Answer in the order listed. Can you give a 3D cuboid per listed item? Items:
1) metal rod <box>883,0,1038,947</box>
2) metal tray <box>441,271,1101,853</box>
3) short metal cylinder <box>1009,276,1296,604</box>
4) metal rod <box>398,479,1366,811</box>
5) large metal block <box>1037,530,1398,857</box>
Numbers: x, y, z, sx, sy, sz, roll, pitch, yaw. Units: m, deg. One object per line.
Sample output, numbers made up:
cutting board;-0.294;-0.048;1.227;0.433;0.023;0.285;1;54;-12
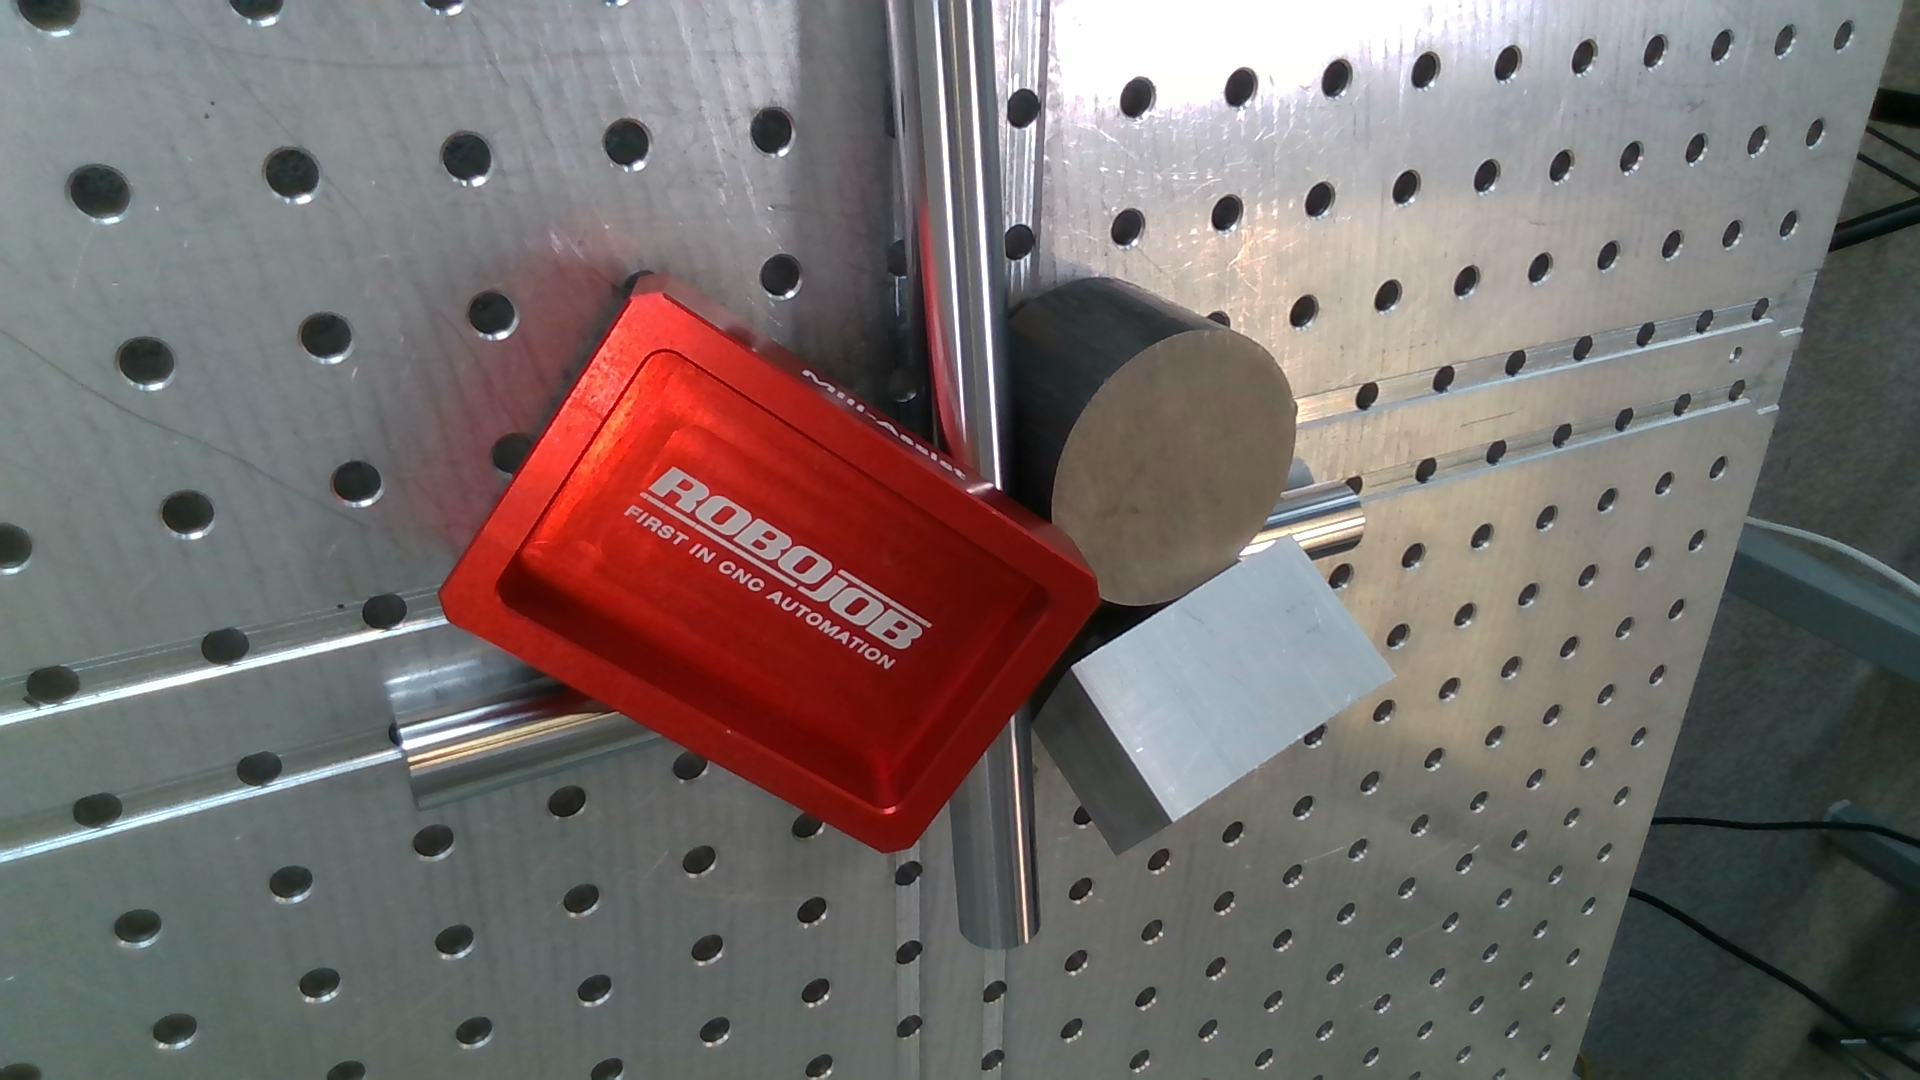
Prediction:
metal rod;0.002;-0.024;0.360;0.025;0.025;0.301;-15;115;-25
metal tray;-0.043;0.009;0.334;0.130;0.030;0.090;33;102;-18
short metal cylinder;0.047;-0.029;0.390;0.080;0.050;0.080;-14;122;-25
metal rod;-0.004;0.023;0.403;0.300;0.025;0.025;-13;121;-25
large metal block;0.073;0.050;0.423;0.080;0.050;0.080;-30;167;-15
